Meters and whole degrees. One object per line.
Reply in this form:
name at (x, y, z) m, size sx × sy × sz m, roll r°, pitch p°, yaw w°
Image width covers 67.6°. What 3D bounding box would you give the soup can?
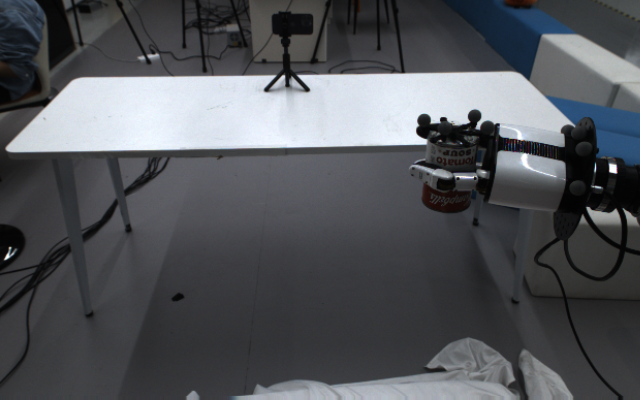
soup can at (0.178, -0.043, 0.657) m, size 0.067 × 0.101 × 0.067 m, roll -2°, pitch 32°, yaw 1°
